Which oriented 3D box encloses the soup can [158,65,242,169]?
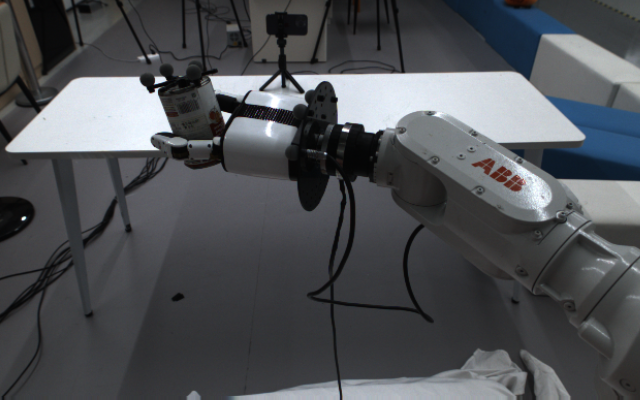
[{"bbox_3d":[-0.156,-0.098,0.615,0.067,0.101,0.067,-11,27,6],"label":"soup can"}]
